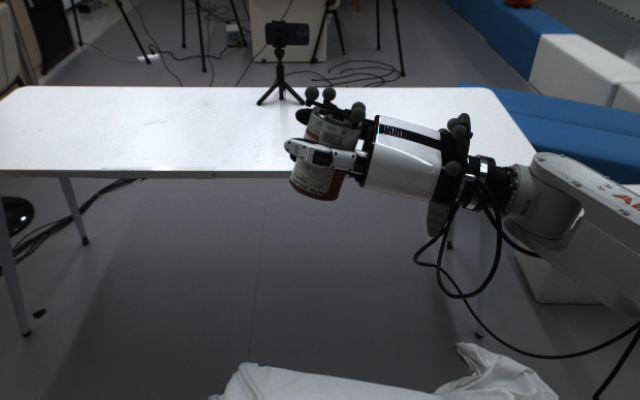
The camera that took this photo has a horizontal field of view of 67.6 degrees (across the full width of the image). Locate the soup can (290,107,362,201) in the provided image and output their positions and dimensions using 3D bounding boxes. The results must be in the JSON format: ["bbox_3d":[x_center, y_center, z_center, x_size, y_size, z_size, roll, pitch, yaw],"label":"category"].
[{"bbox_3d":[0.008,-0.059,0.613,0.067,0.101,0.067,17,21,-7],"label":"soup can"}]
